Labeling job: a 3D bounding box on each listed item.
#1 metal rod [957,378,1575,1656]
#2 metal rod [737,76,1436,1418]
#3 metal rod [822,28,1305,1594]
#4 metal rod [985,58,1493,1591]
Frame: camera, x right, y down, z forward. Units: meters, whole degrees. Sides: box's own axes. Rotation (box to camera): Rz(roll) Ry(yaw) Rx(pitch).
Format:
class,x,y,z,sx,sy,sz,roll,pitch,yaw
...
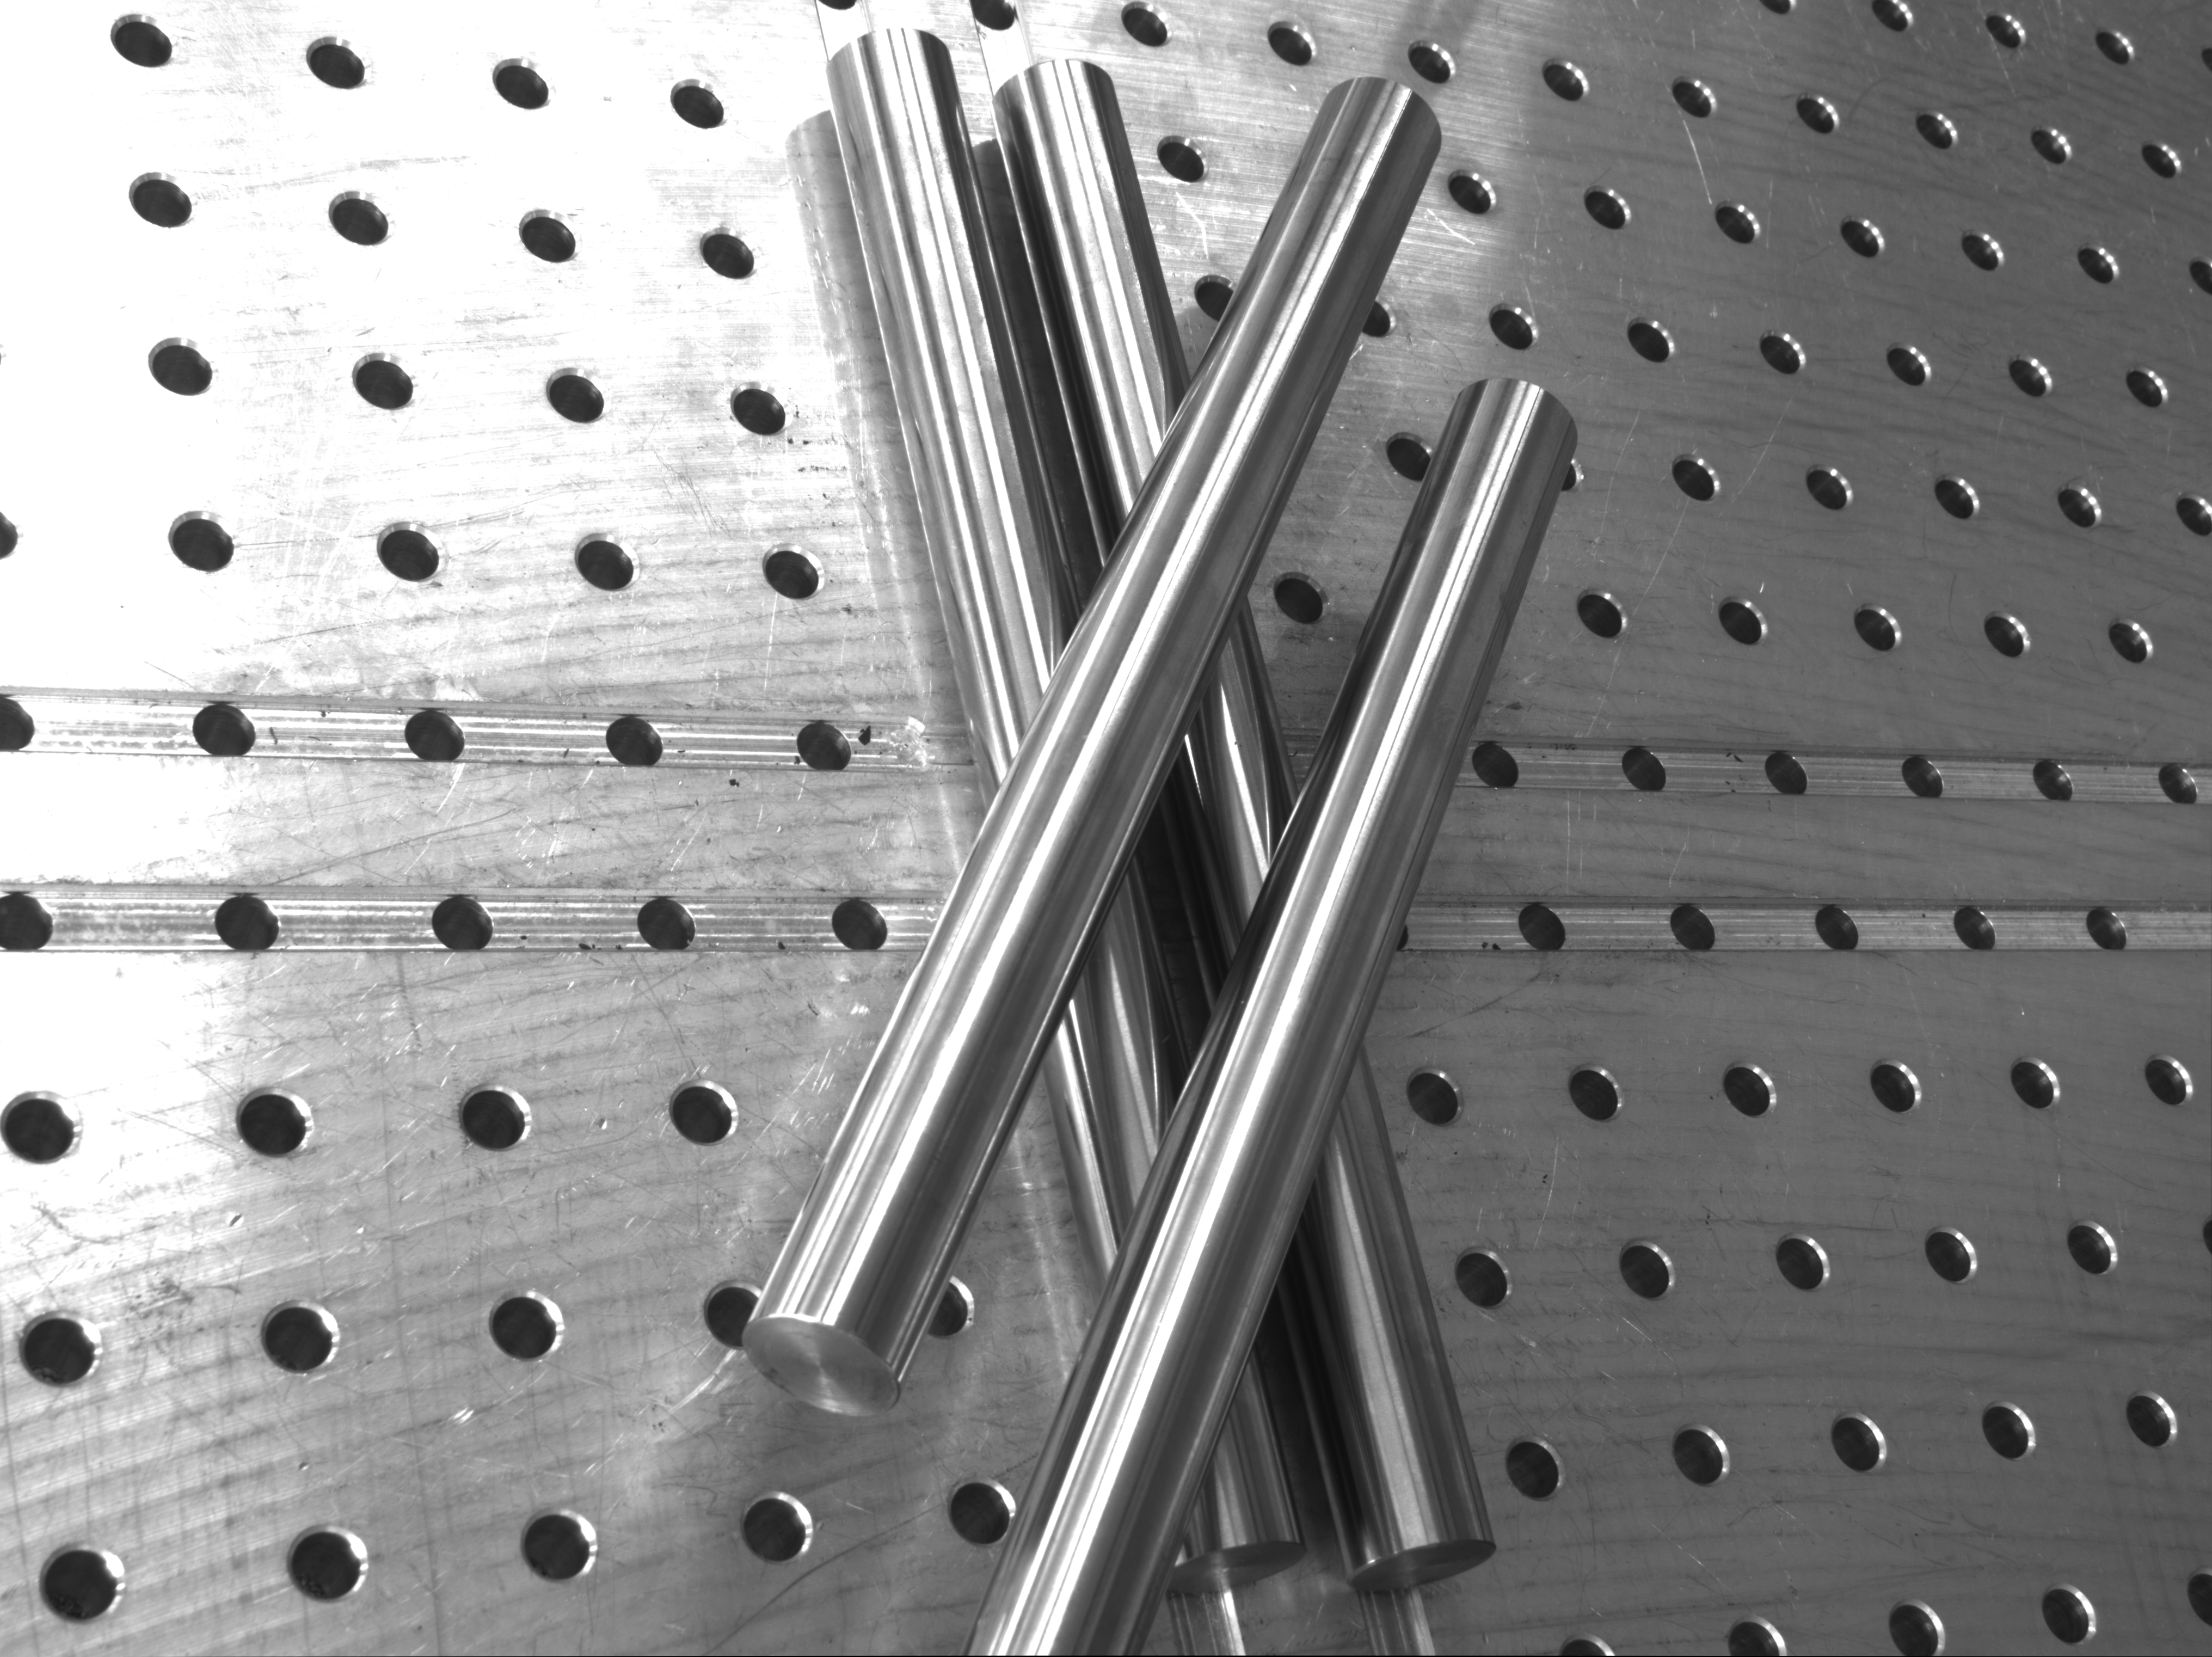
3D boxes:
class,x,y,z,sx,sy,sz,roll,pitch,yaw
metal rod,0.030,0.033,0.606,0.025,0.025,0.300,30,52,-9
metal rod,0.005,-0.029,0.632,0.025,0.025,0.300,30,52,-8
metal rod,-0.012,-0.015,0.646,0.025,0.025,0.300,1,61,-28
metal rod,0.020,-0.012,0.661,0.025,0.025,0.300,1,61,-28
